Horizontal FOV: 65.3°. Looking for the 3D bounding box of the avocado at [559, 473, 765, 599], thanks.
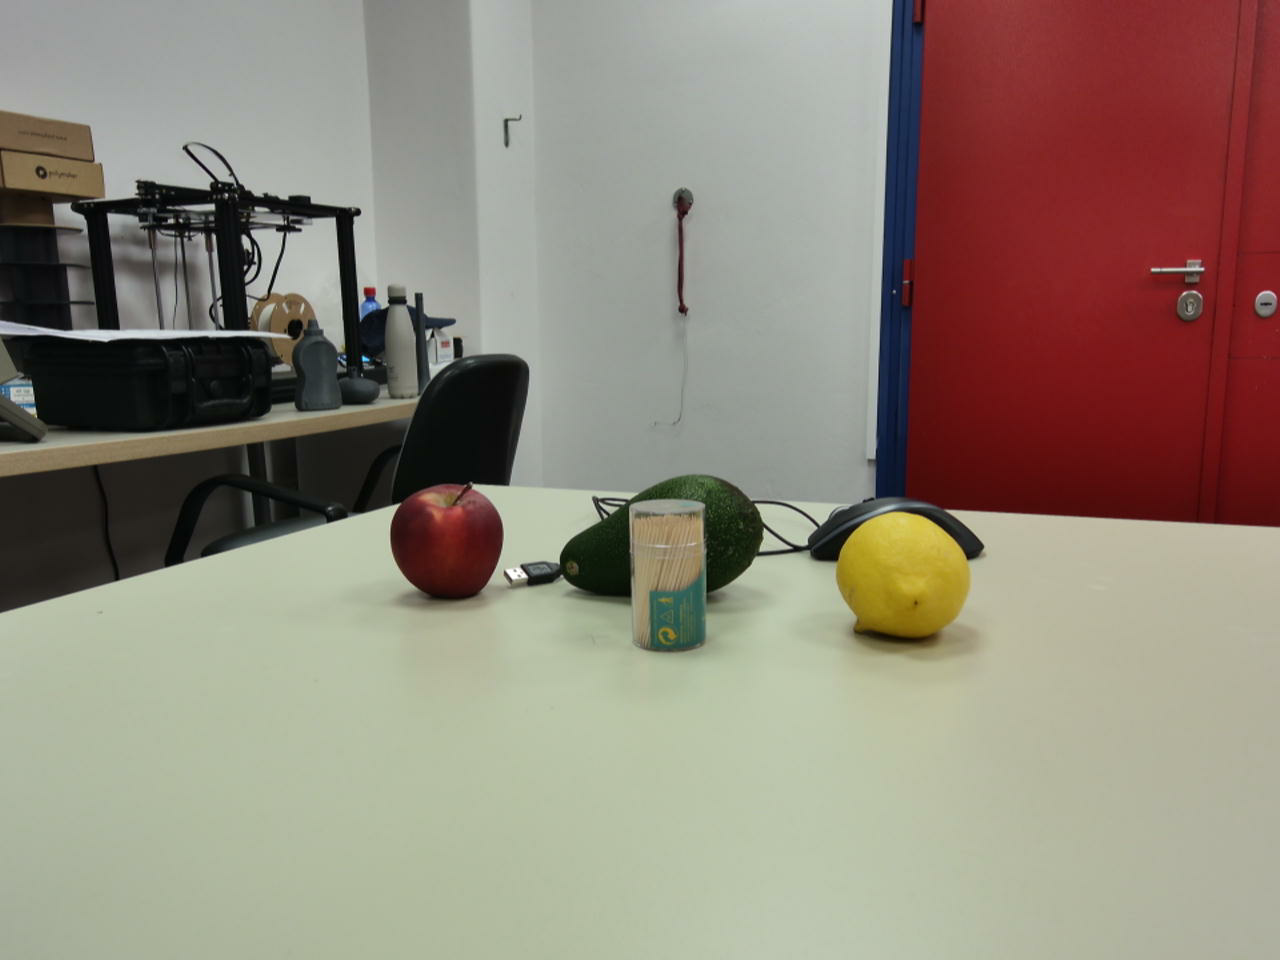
[{"bbox_3d":[0.017,0.034,0.619,0.123,0.076,0.074,4,8,29],"label":"avocado"}]
